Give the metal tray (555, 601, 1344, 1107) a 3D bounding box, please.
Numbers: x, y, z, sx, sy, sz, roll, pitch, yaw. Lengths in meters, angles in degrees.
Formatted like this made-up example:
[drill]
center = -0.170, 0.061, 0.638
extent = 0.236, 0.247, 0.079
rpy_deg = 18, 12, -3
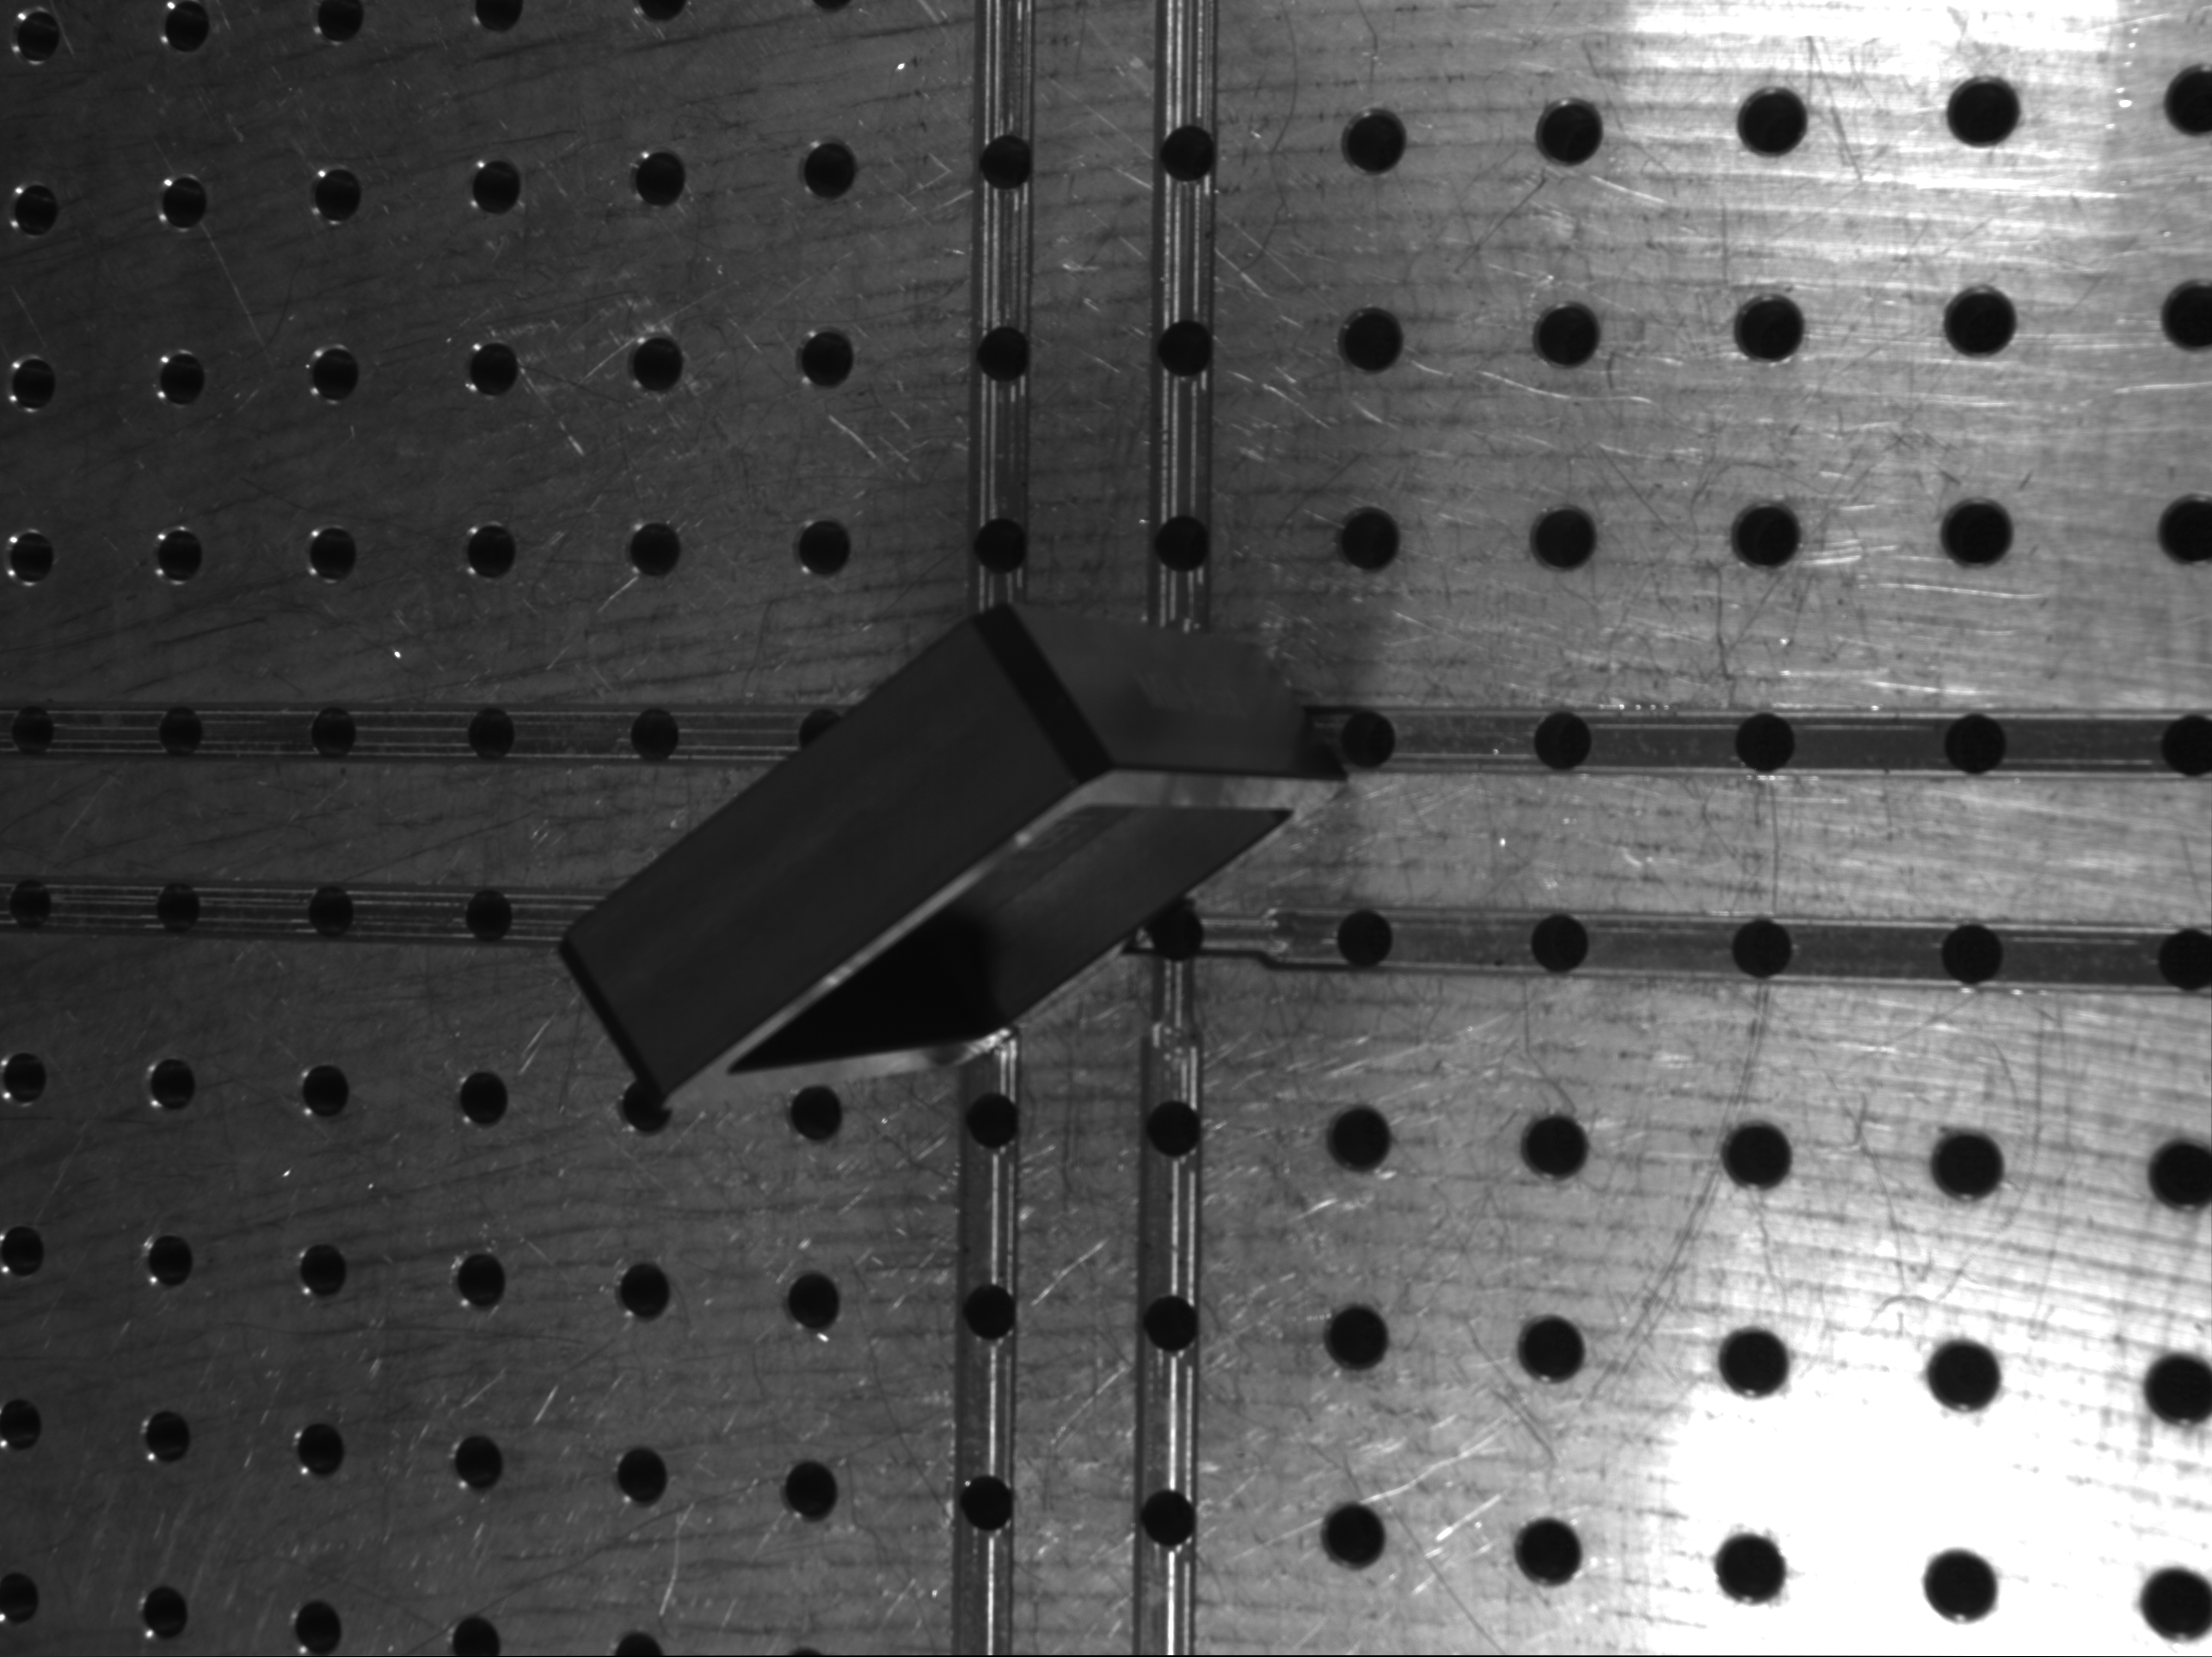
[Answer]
[metal tray]
center = -0.021, 0.005, 0.598
extent = 0.090, 0.130, 0.030
rpy_deg = -37, 78, 16
